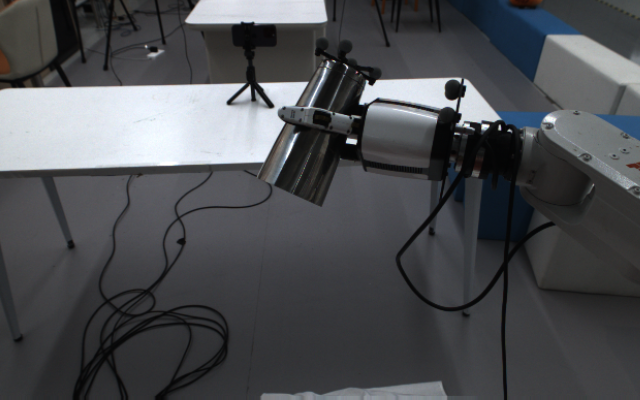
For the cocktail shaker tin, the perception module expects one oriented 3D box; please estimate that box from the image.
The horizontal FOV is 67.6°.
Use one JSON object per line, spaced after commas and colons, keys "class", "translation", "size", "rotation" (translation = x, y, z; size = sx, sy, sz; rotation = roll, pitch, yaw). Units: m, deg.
{"class": "cocktail shaker tin", "translation": [-0.003, -0.090, 0.620], "size": [0.093, 0.170, 0.093], "rotation": [23, -1, 0]}
